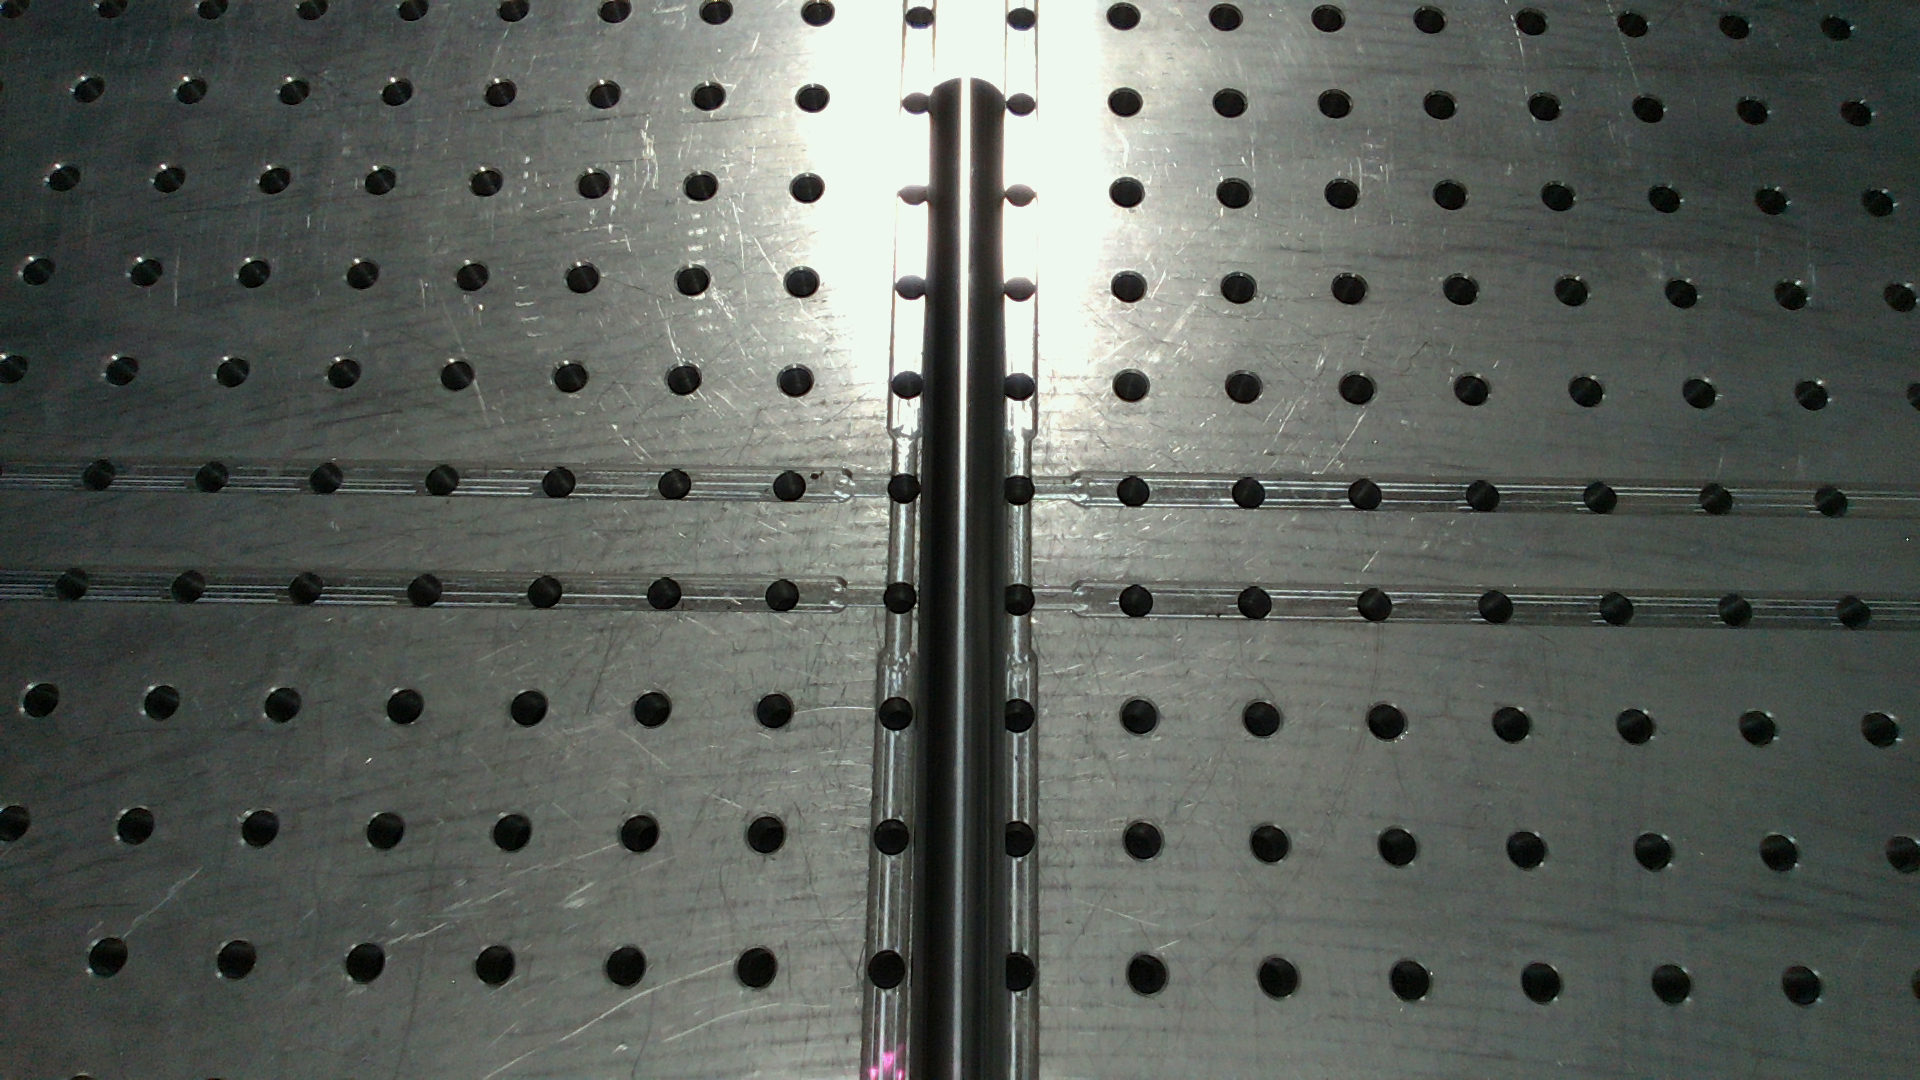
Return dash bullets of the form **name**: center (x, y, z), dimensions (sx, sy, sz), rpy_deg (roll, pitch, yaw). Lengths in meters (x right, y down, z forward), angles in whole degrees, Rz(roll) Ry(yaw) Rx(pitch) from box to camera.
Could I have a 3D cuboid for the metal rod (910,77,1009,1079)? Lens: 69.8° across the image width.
- **metal rod**: center (0.001, -0.002, 0.398), dimensions (0.025, 0.025, 0.300), rpy_deg (0, 70, 0)
